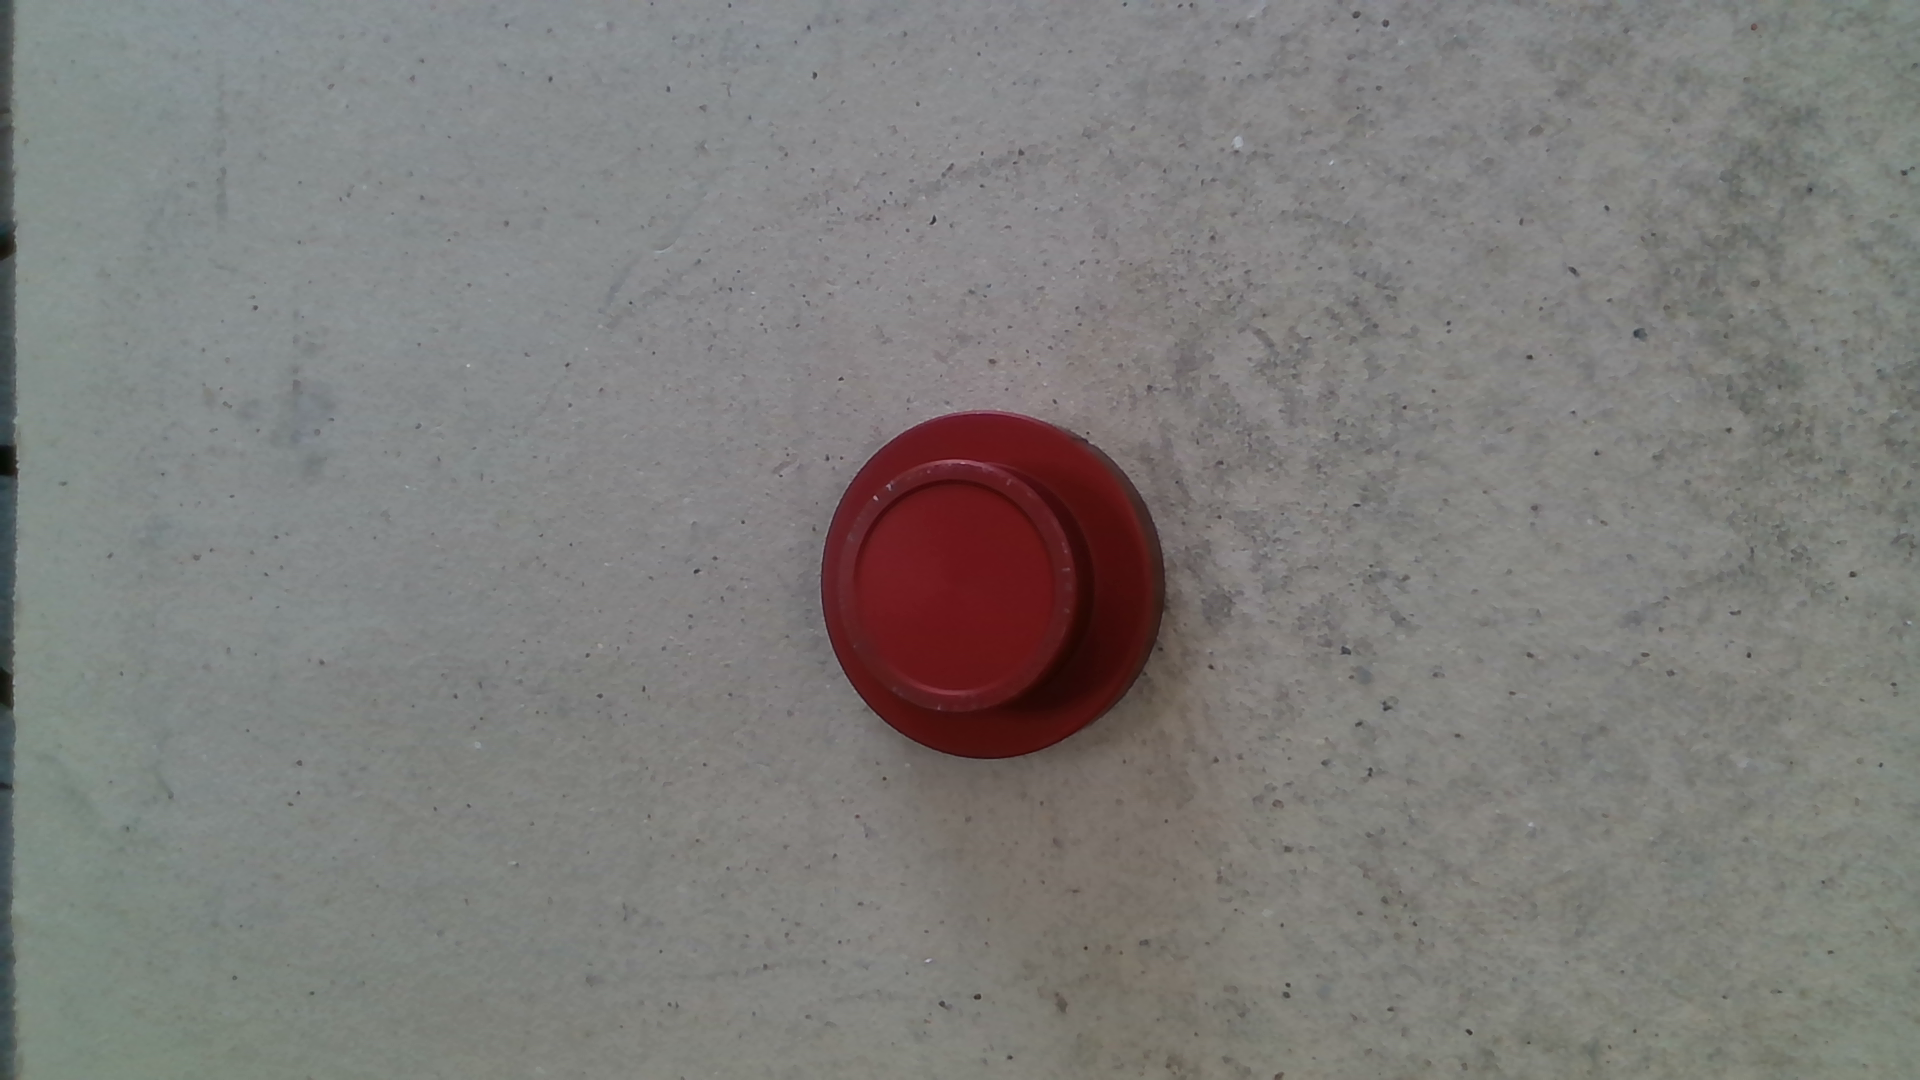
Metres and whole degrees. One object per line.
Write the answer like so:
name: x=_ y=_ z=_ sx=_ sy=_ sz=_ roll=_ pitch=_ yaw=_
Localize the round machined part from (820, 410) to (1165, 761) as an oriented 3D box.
round machined part: x=0.005 y=0.013 z=0.384 sx=0.098 sy=0.042 sz=0.098 roll=0 pitch=90 yaw=20
